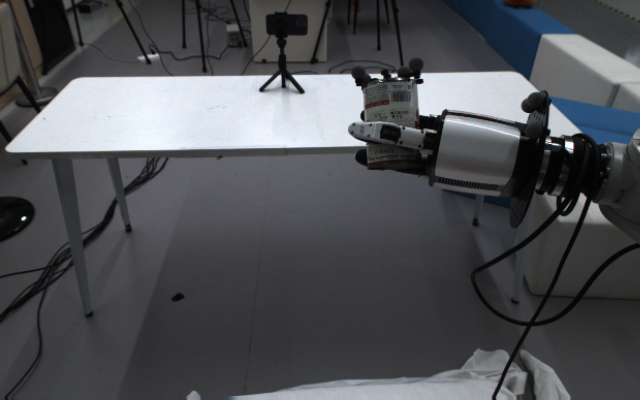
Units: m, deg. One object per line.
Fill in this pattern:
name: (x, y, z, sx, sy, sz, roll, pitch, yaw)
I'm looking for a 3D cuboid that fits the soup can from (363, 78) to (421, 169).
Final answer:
soup can: (0.090, -0.090, 0.589, 0.067, 0.101, 0.067, -3, -1, 0)
